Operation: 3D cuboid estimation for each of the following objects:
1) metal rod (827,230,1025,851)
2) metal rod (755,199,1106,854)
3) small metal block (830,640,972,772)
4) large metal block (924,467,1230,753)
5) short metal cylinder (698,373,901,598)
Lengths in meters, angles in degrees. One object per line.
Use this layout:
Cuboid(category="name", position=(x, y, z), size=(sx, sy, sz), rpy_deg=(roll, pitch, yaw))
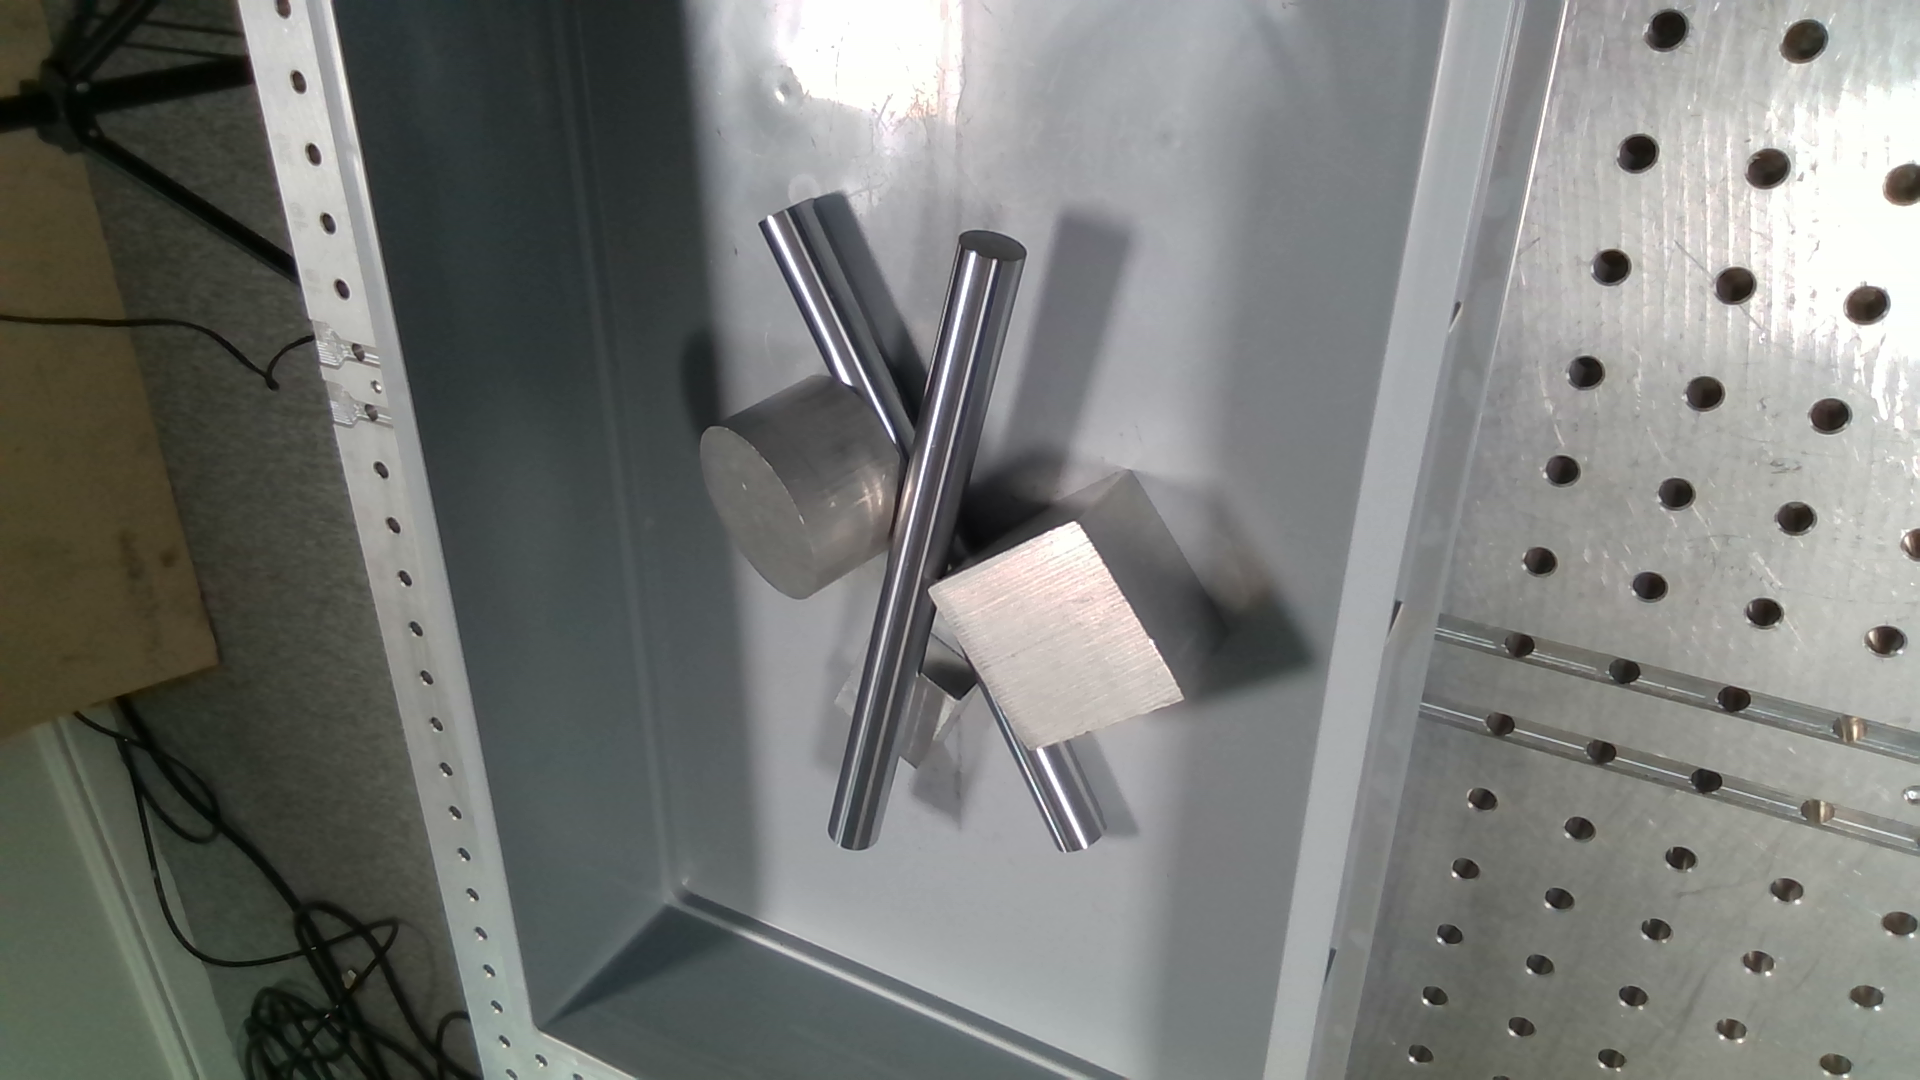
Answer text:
Cuboid(category="metal rod", position=(-0.020, 0.017, 0.568), size=(0.025, 0.025, 0.301), rpy_deg=(26, 126, 17))
Cuboid(category="metal rod", position=(-0.008, 0.001, 0.584), size=(0.025, 0.025, 0.300), rpy_deg=(-15, 107, 36))
Cuboid(category="small metal block", position=(-0.025, 0.069, 0.630), size=(0.050, 0.025, 0.050), rpy_deg=(37, 129, 9))
Cuboid(category="large metal block", position=(0.047, 0.029, 0.549), size=(0.080, 0.050, 0.080), rpy_deg=(-25, 100, 38))
Cuboid(category="short metal cylinder", position=(-0.065, -0.022, 0.572), size=(0.080, 0.050, 0.080), rpy_deg=(39, 148, 31))
